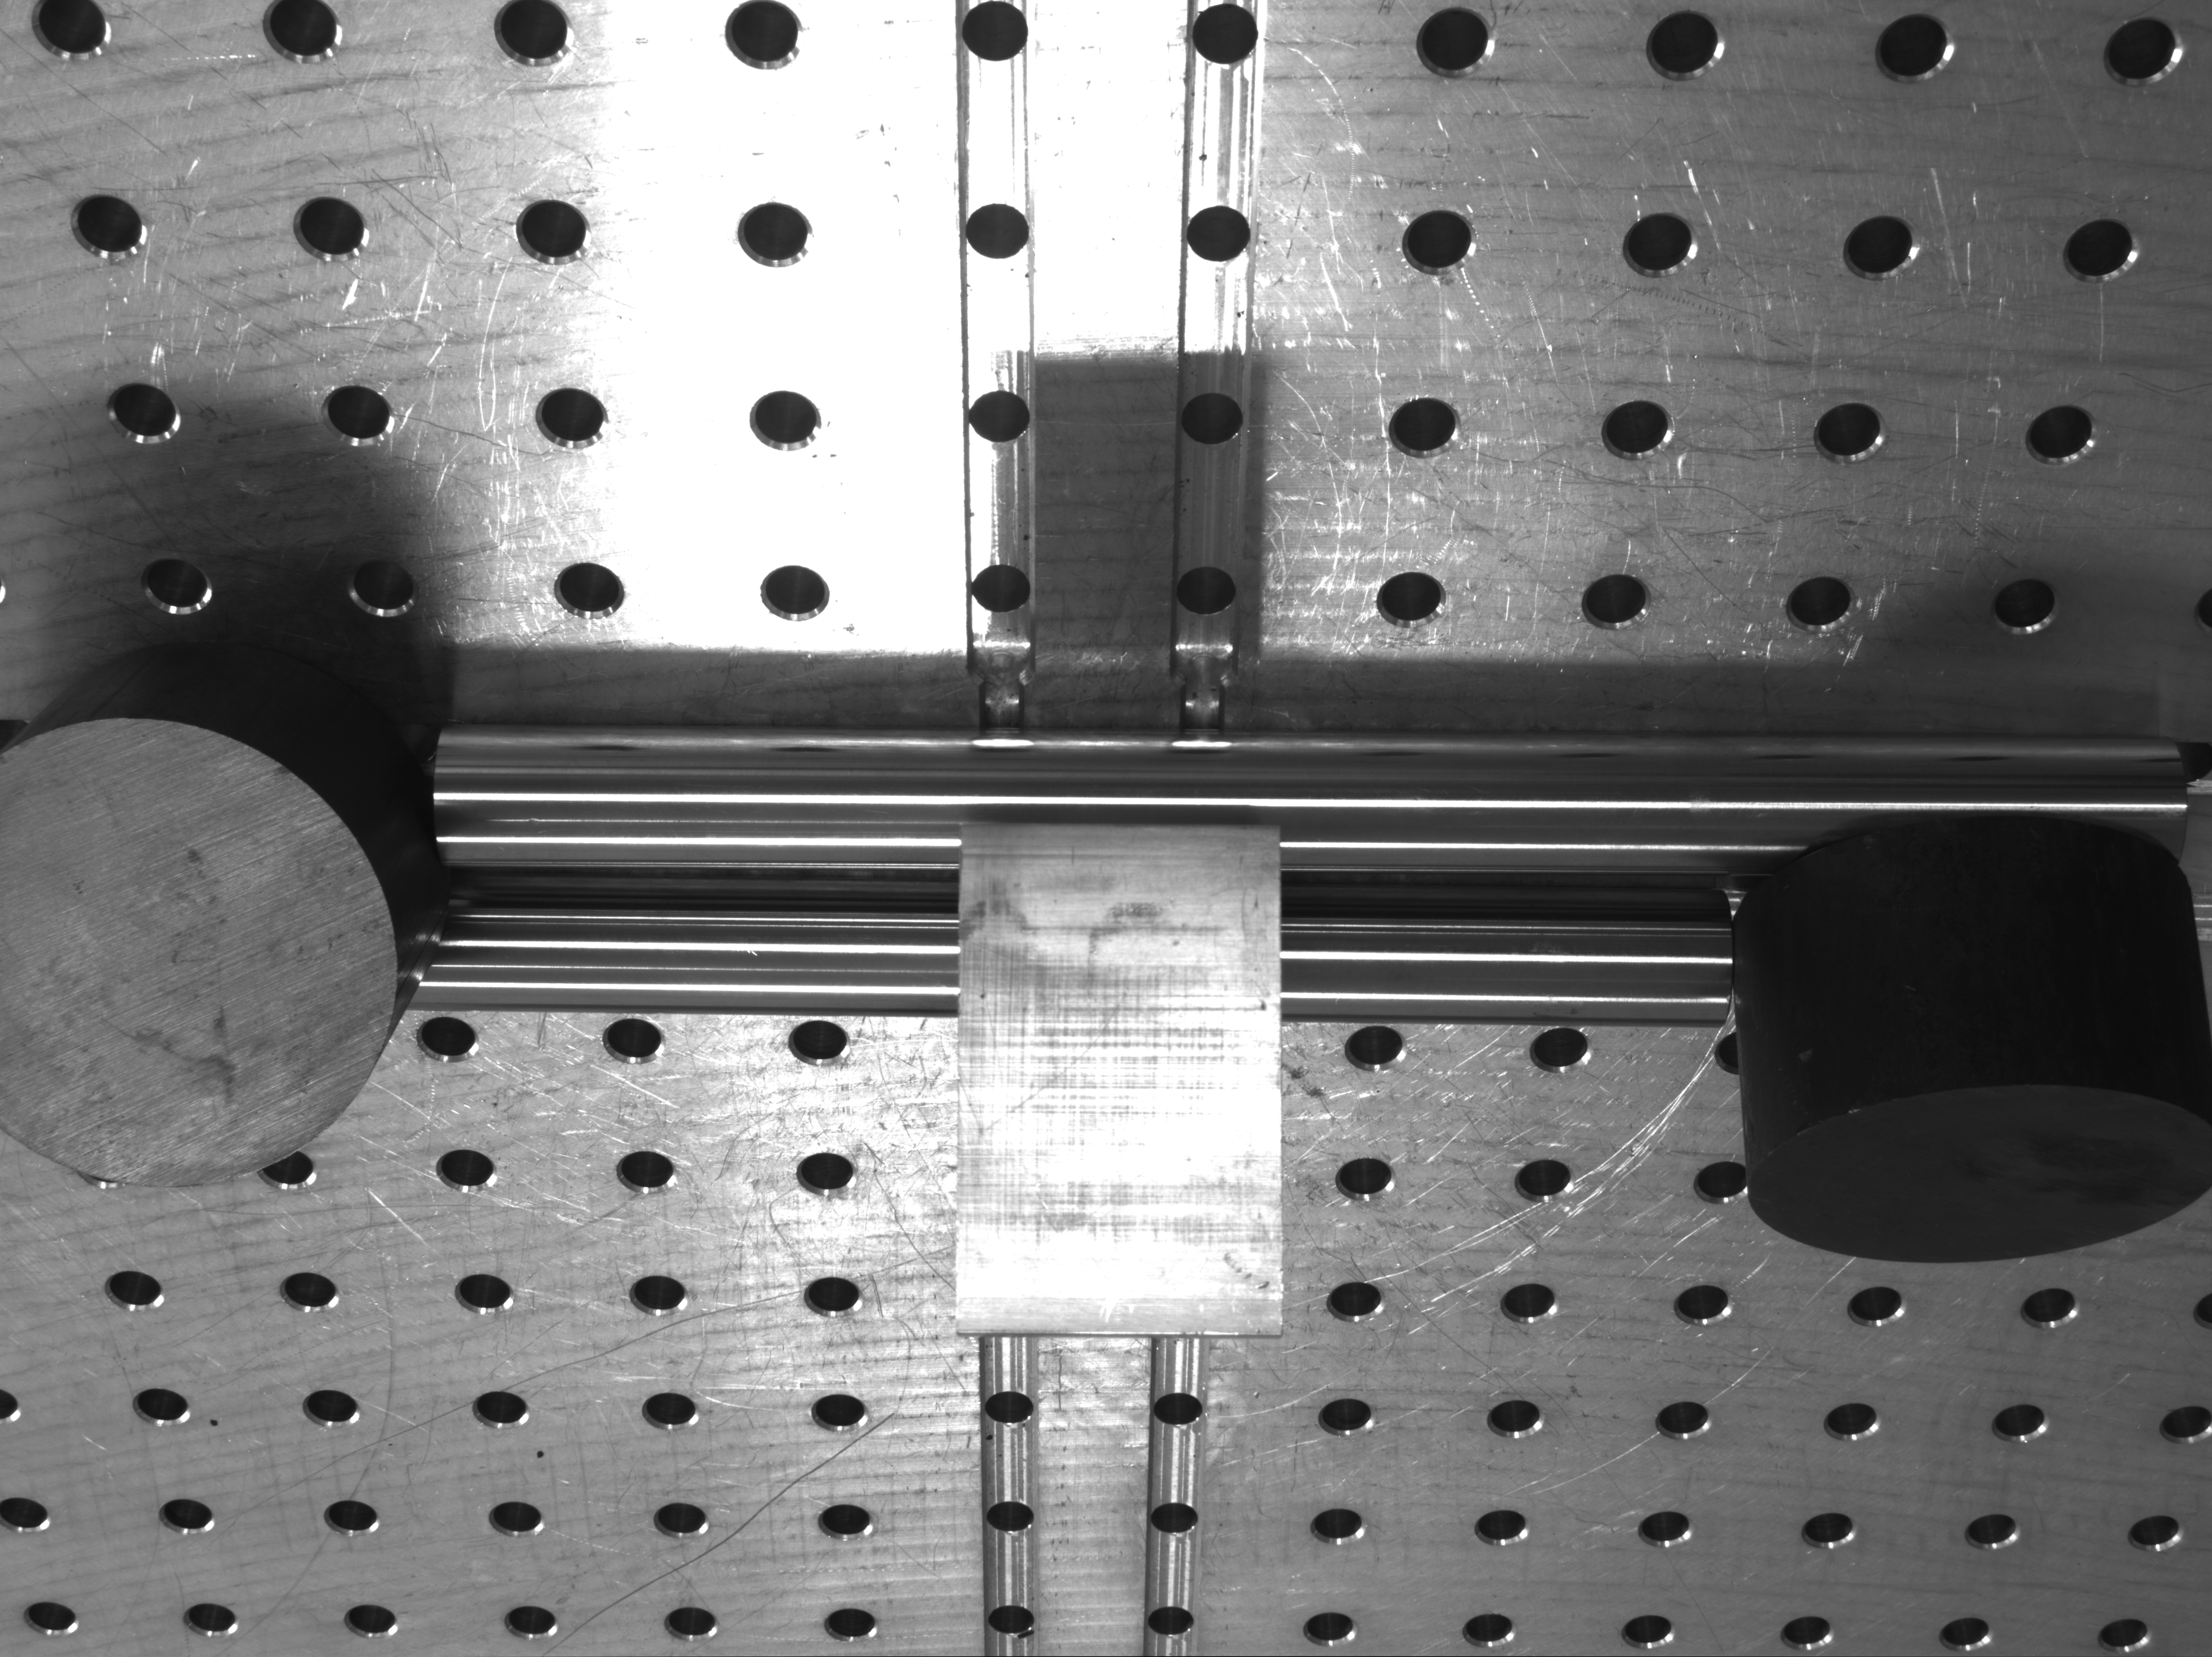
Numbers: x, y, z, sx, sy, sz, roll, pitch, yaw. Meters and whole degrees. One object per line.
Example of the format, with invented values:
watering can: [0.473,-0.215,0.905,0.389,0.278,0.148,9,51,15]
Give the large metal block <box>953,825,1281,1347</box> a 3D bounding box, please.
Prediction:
large metal block: [0.002,0.045,0.606,0.050,0.080,0.080,0,172,0]

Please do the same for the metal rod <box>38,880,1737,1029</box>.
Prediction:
metal rod: [-0.039,0.022,0.661,0.300,0.025,0.025,0,130,-1]

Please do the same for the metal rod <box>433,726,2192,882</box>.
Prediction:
metal rod: [0.035,-0.004,0.639,0.300,0.025,0.025,1,130,-1]

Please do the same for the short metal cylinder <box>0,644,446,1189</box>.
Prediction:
short metal cylinder: [-0.155,0.014,0.619,0.080,0.050,0.080,0,107,0]

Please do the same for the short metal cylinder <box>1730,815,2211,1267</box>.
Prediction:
short metal cylinder: [0.151,0.038,0.642,0.080,0.050,0.080,0,152,0]
